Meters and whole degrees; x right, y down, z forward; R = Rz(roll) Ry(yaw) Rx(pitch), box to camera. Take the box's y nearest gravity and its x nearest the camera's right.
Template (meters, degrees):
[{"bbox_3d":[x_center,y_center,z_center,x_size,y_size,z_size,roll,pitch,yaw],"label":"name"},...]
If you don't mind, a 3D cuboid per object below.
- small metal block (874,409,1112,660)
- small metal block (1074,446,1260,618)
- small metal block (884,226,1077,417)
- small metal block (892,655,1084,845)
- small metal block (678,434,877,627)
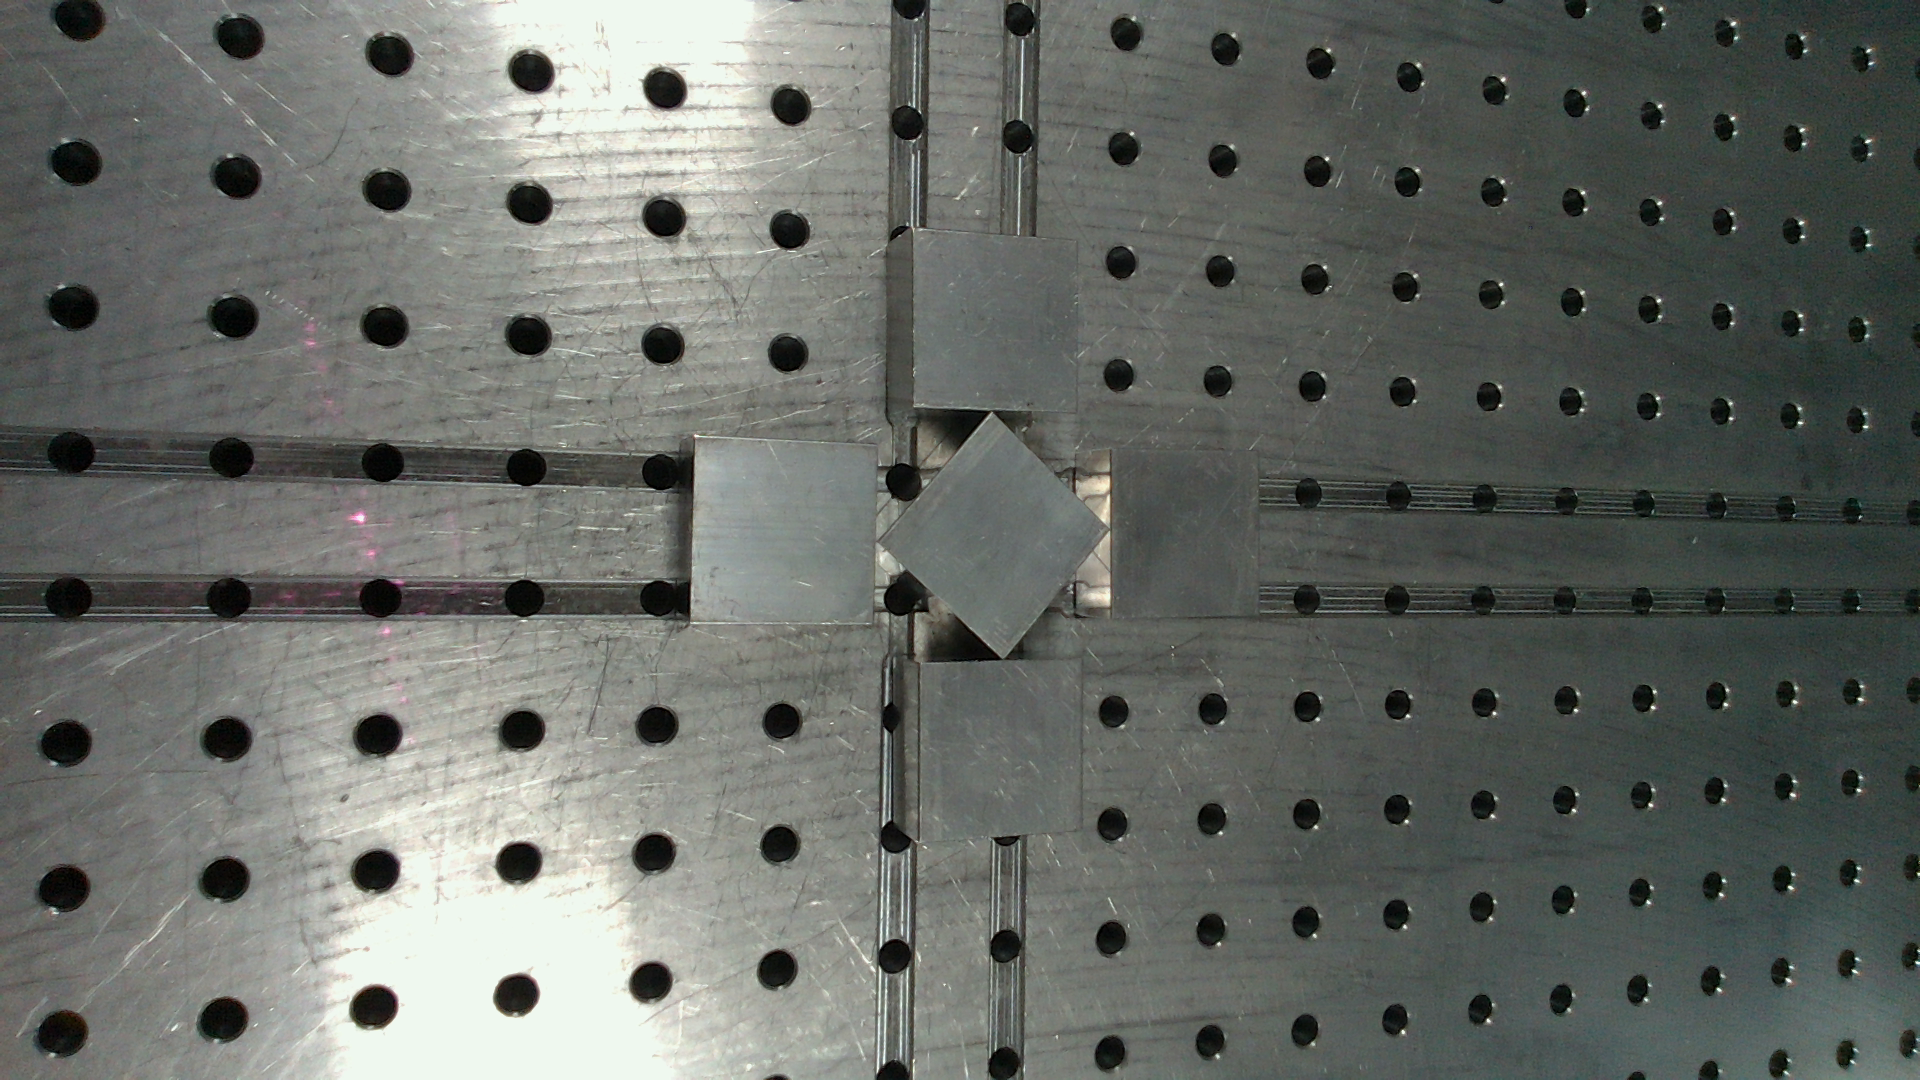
[{"bbox_3d":[0.007,-0.001,0.398,0.050,0.025,0.050,44,76,-15],"label":"small metal block"},{"bbox_3d":[0.063,-0.003,0.419,0.050,0.025,0.050,0,90,-20],"label":"small metal block"},{"bbox_3d":[0.006,-0.062,0.398,0.050,0.025,0.050,-1,90,-20],"label":"small metal block"},{"bbox_3d":[0.008,0.059,0.399,0.050,0.025,0.050,0,90,-20],"label":"small metal block"},{"bbox_3d":[-0.051,-0.002,0.377,0.050,0.025,0.050,1,90,-20],"label":"small metal block"}]
